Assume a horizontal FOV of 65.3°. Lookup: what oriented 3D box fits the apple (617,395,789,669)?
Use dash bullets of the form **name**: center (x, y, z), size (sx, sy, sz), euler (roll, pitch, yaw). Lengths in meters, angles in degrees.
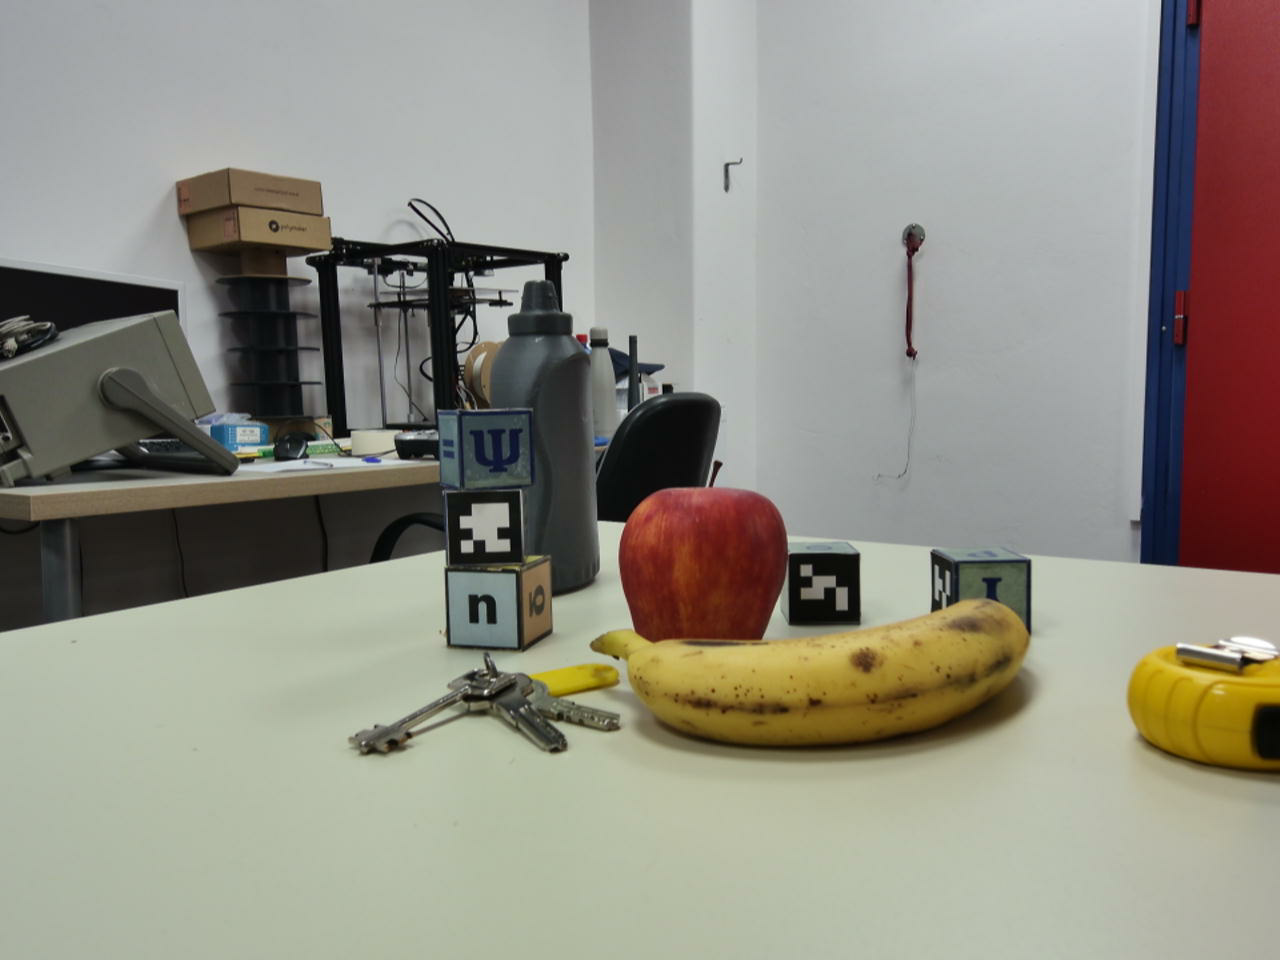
- **apple**: center (0.031, 0.037, 0.463), size (0.083, 0.090, 0.083), euler (1, 3, 0)
